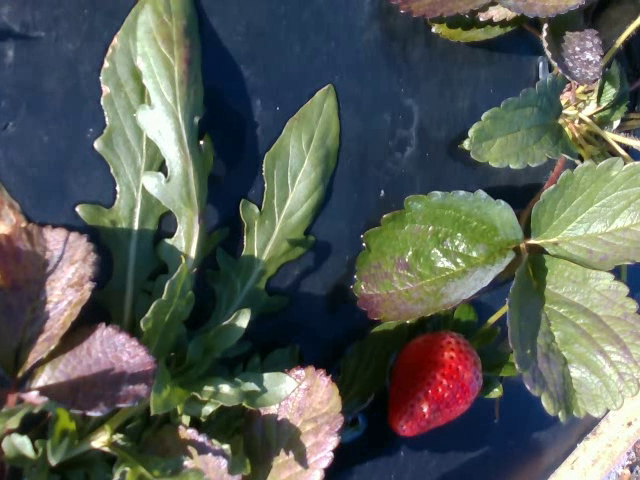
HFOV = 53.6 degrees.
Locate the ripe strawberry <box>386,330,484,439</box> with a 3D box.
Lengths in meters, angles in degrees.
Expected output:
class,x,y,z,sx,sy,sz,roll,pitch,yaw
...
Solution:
class,x,y,z,sx,sy,sz,roll,pitch,yaw
ripe strawberry,0.037,0.050,0.216,0.036,0.044,0.053,39,38,22
